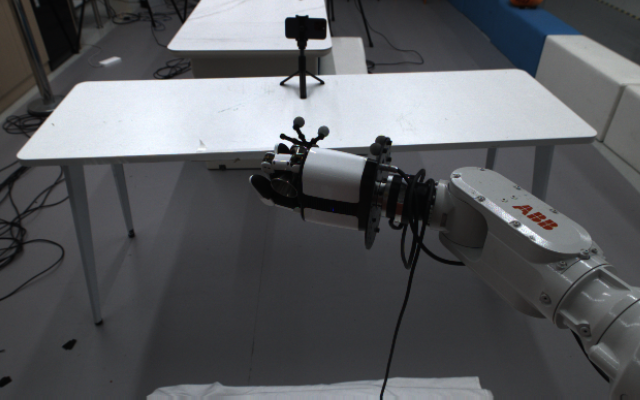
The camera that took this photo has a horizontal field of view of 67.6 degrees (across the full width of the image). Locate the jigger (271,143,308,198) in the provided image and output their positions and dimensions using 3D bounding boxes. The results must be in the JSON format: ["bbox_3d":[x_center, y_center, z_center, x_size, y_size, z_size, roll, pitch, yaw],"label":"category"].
[{"bbox_3d":[-0.039,-0.046,0.712,0.043,0.043,0.071,15,58,18],"label":"jigger"}]
